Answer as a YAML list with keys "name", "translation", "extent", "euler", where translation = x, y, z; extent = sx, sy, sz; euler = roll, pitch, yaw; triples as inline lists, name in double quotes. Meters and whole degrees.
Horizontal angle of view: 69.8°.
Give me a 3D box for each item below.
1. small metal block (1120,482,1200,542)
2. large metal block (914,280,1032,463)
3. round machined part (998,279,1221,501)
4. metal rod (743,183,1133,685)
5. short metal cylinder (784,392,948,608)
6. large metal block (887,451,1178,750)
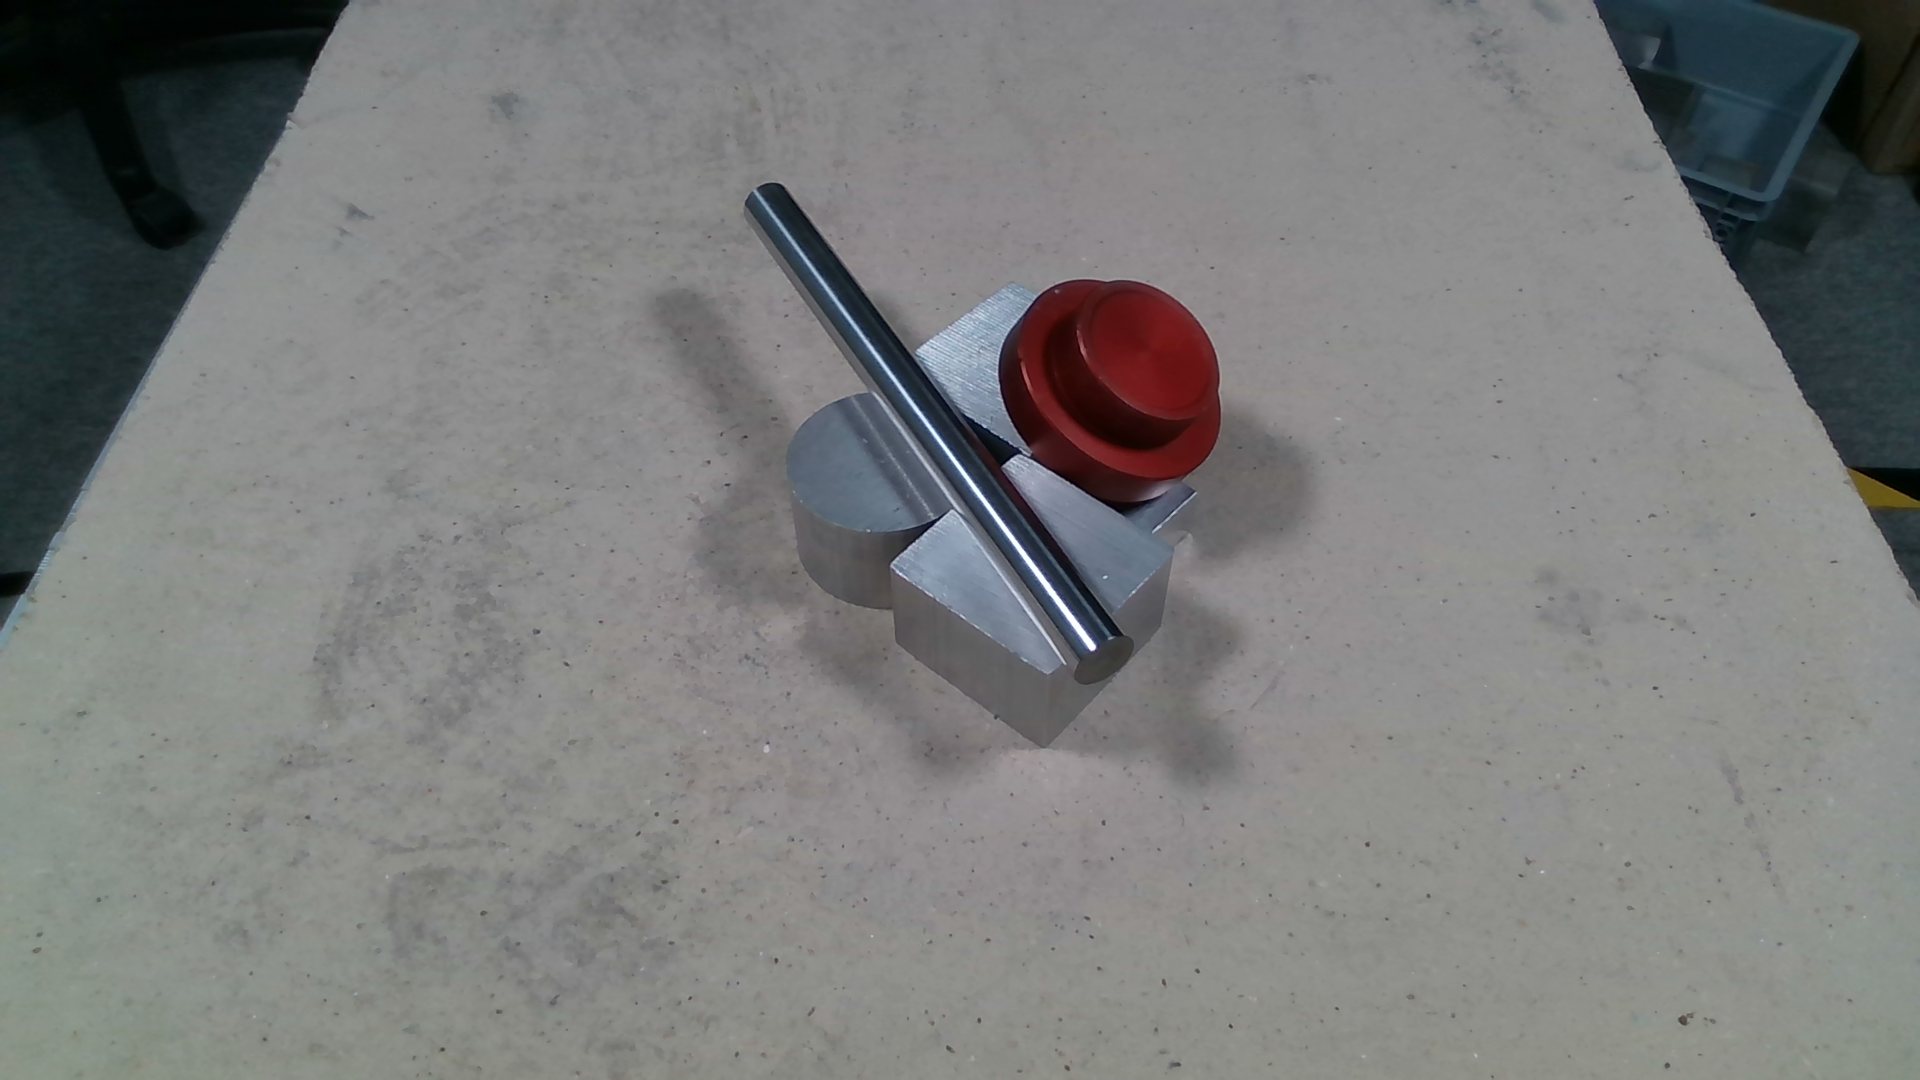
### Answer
- name: "small metal block"
  translation: [0.067, -0.012, 0.596]
  extent: [0.050, 0.025, 0.050]
  euler: [35, 58, 26]
- name: "large metal block"
  translation: [0.027, -0.061, 0.621]
  extent: [0.080, 0.050, 0.080]
  euler: [35, 58, 25]
- name: "round machined part"
  translation: [0.069, -0.069, 0.576]
  extent: [0.098, 0.042, 0.098]
  euler: [13, 60, -22]
- name: "metal rod"
  translation: [-0.021, -0.058, 0.570]
  extent: [0.025, 0.025, 0.299]
  euler: [-23, 54, -18]
- name: "short metal cylinder"
  translation: [-0.032, -0.018, 0.585]
  extent: [0.080, 0.050, 0.080]
  euler: [0, 50, 0]
- name: "large metal block"
  translation: [0.028, 0.023, 0.552]
  extent: [0.080, 0.050, 0.080]
  euler: [34, 58, 25]
